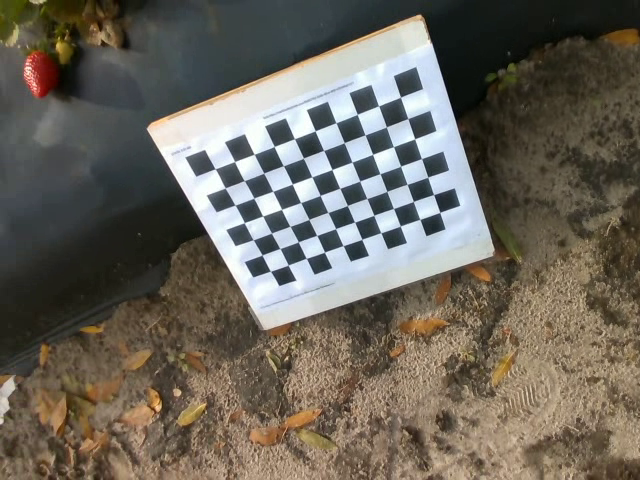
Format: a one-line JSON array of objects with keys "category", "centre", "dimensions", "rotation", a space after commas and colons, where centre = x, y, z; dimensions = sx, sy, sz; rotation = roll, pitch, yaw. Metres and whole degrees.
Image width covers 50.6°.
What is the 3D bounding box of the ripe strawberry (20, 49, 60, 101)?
[{"category": "ripe strawberry", "centre": [-0.294, -0.161, 0.739], "dimensions": [0.045, 0.058, 0.050], "rotation": [-17, -19, 10]}]
